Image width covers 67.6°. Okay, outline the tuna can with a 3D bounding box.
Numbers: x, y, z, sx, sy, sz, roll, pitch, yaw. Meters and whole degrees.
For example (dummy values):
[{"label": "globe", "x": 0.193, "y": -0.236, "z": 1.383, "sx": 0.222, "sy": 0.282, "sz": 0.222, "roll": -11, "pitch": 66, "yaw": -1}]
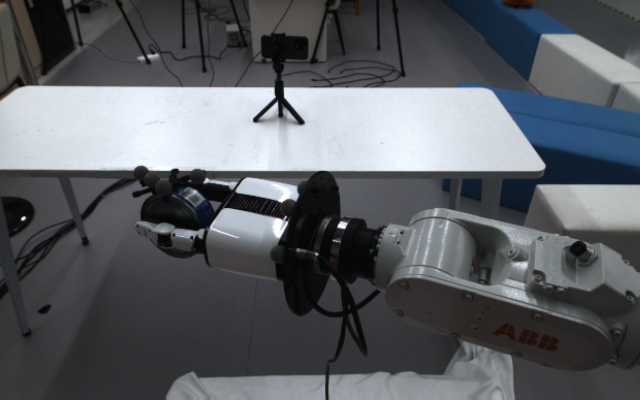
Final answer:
[{"label": "tuna can", "x": -0.166, "y": 0.024, "z": 0.576, "sx": 0.085, "sy": 0.085, "sz": 0.034, "roll": 14, "pitch": 29, "yaw": 17}]
